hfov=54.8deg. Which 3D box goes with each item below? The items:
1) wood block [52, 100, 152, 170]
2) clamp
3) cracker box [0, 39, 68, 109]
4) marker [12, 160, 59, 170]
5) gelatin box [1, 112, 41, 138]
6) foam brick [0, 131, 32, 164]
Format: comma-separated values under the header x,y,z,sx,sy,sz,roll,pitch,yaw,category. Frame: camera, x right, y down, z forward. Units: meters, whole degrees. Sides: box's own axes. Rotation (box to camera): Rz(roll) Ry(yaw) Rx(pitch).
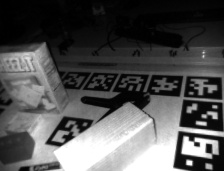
x,y,z,sx,sy,sz,roll,pitch,yaw,category
-0.018,0.135,0.487,0.207,0.092,0.088,-31,39,-22,wood block
-0.002,0.051,0.617,0.203,0.037,0.164,-18,40,-2,clamp
-0.246,-0.025,0.640,0.163,0.215,0.072,1,41,17,cracker box
-0.181,0.195,0.518,0.121,0.020,0.019,-11,41,5,marker
-0.268,0.114,0.639,0.088,0.030,0.073,2,44,20,gelatin box
-0.258,0.160,0.560,0.078,0.052,0.052,-14,41,2,foam brick
